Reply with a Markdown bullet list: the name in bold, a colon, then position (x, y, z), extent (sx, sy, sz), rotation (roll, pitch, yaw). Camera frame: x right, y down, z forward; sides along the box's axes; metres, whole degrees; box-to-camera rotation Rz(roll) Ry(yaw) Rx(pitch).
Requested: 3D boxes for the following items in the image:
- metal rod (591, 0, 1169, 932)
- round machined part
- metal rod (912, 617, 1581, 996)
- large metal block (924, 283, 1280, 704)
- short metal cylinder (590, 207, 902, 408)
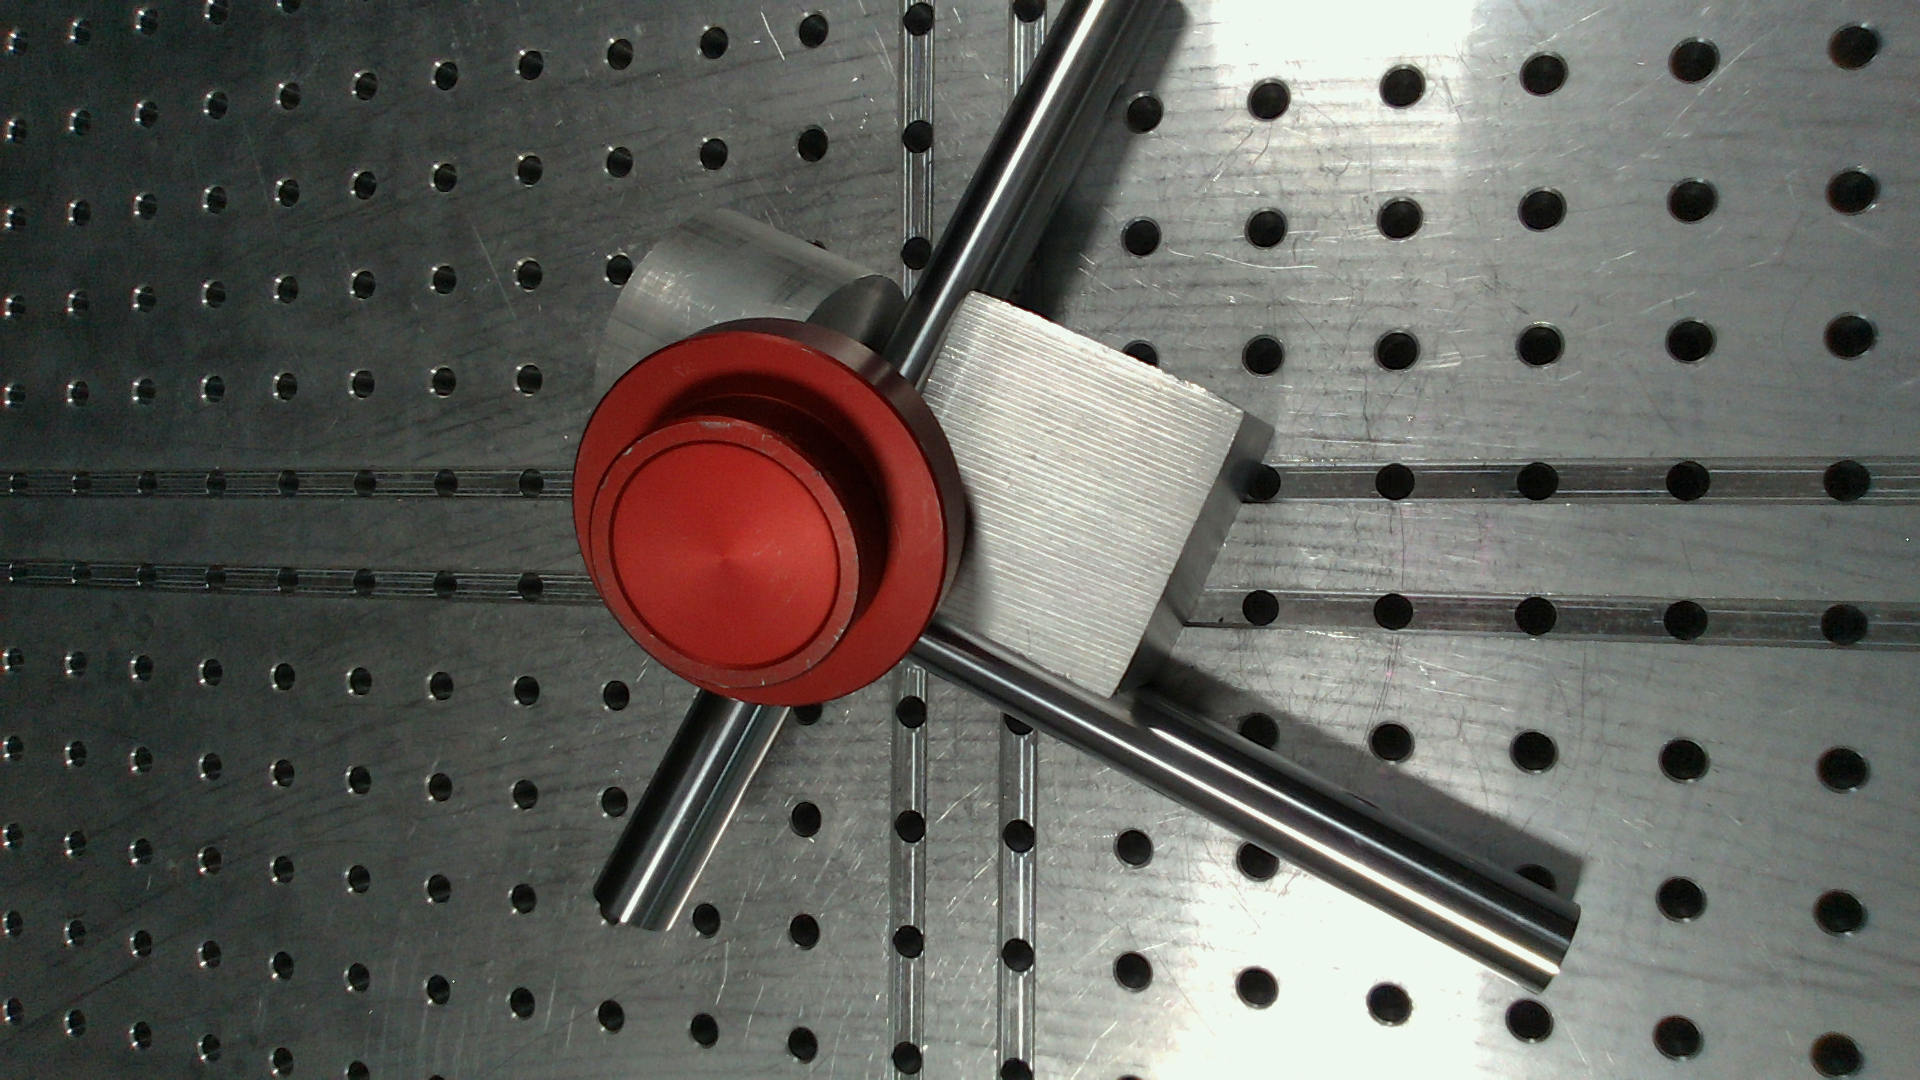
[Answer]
- **metal rod**: position (-0.022, -0.028, 0.386), extent (0.025, 0.025, 0.300), rotation (29, 92, 18)
- **round machined part**: position (-0.051, -0.002, 0.338), extent (0.098, 0.042, 0.098), rotation (4, 111, 11)
- **metal rod**: position (0.022, 0.040, 0.390), extent (0.299, 0.025, 0.025), rotation (26, 99, 18)
- **large metal block**: position (0.029, -0.013, 0.371), extent (0.080, 0.050, 0.080), rotation (27, 99, 18)
- **short metal cylinder**: position (-0.058, -0.047, 0.389), extent (0.050, 0.080, 0.080), rotation (26, 99, 18)
